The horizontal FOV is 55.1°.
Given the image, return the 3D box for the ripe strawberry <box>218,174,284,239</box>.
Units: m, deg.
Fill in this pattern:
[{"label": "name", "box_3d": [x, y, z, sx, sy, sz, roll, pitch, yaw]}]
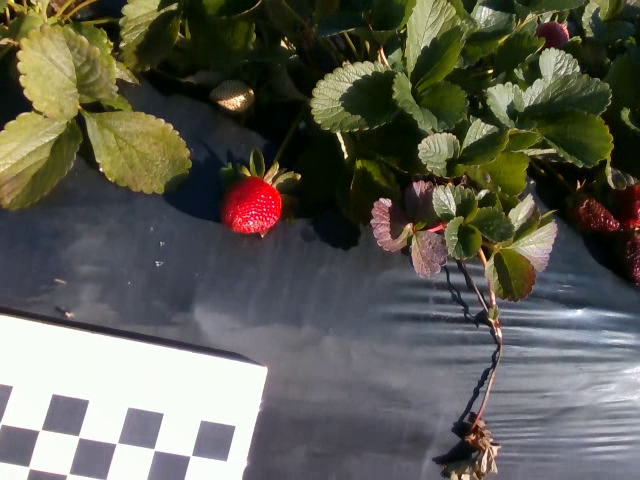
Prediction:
[{"label": "ripe strawberry", "box_3d": [-0.047, -0.017, 0.385, 0.043, 0.043, 0.050, -39, 6, 30]}]
